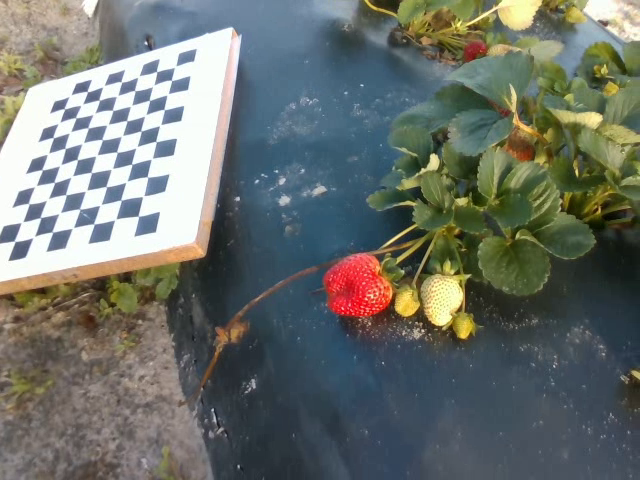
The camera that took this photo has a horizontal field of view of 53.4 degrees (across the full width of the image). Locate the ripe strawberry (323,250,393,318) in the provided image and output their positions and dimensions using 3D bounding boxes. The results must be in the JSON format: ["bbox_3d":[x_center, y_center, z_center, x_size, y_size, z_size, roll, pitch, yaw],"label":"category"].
[{"bbox_3d":[0.024,0.030,0.453,0.050,0.048,0.035,-23,-41,-2],"label":"ripe strawberry"}]
